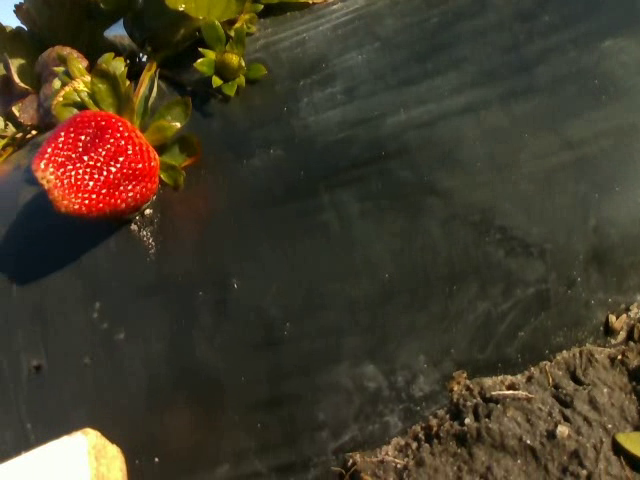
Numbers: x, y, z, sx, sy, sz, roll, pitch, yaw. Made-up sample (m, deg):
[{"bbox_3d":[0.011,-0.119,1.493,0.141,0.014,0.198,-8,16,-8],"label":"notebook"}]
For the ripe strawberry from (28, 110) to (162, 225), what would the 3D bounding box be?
[{"bbox_3d":[-0.080,-0.021,0.191,0.042,0.042,0.059,-5,34,10],"label":"ripe strawberry"}]
